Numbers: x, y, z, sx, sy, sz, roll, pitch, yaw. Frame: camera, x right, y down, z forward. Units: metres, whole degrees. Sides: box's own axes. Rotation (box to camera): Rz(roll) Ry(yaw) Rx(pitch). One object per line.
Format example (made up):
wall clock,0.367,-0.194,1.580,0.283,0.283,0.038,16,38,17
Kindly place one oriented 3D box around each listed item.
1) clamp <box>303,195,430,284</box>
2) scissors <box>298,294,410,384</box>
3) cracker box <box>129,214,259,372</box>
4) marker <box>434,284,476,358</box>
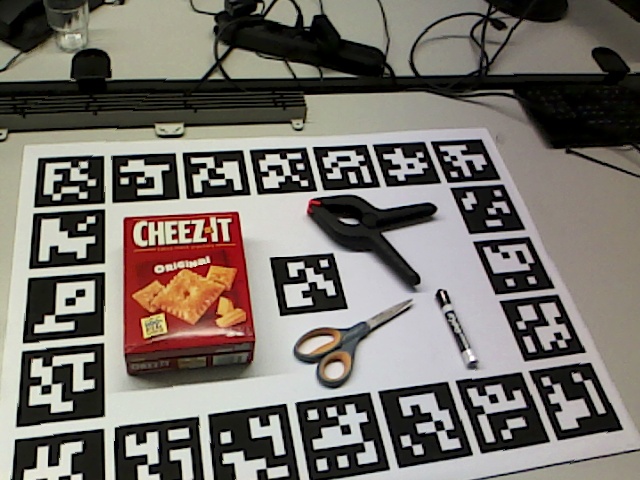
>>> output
clamp,0.068,-0.025,1.012,0.203,0.036,0.165,19,51,5
scissors,0.059,0.126,0.888,0.202,0.016,0.088,-31,61,-31
cracker box,-0.180,0.067,0.865,0.164,0.072,0.214,-4,53,-12
marker,0.198,0.117,0.916,0.019,0.019,0.121,-8,54,-15
